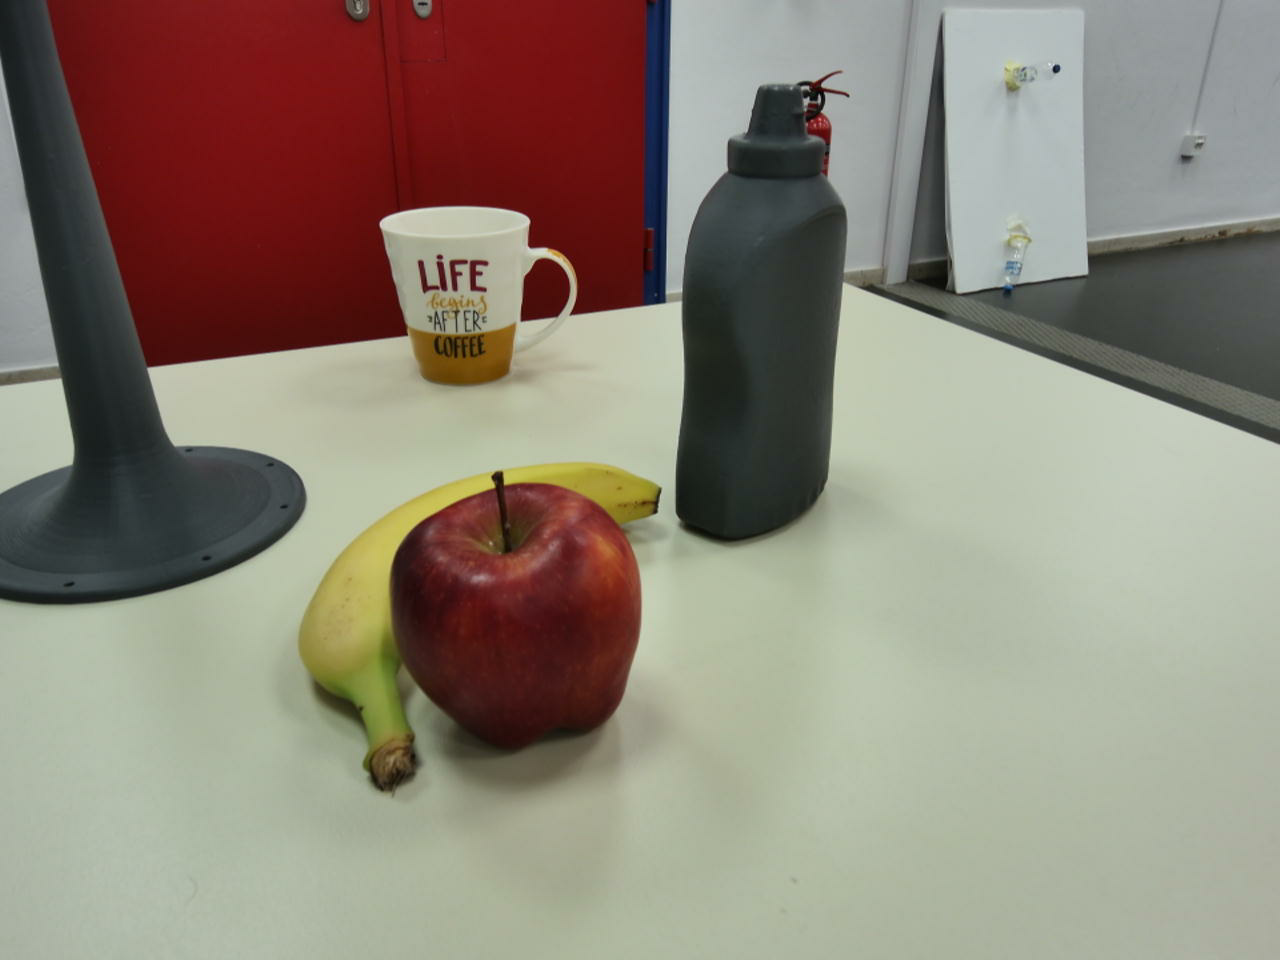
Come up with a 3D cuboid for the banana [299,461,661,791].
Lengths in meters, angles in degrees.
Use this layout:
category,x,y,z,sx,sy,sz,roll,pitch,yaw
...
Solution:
category,x,y,z,sx,sy,sz,roll,pitch,yaw
banana,-0.072,0.035,0.400,0.094,0.041,0.196,12,26,25
